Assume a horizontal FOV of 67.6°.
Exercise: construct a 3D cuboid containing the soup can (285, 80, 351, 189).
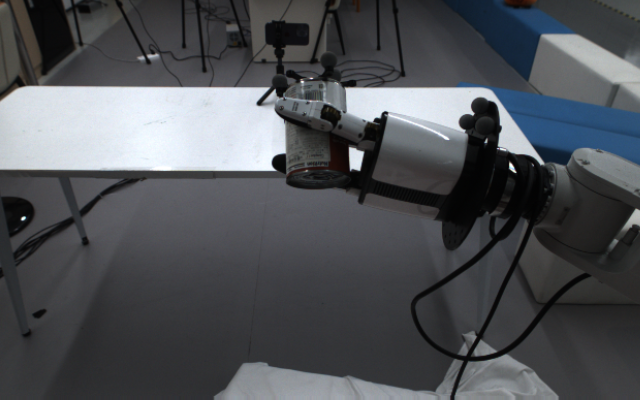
[{"bbox_3d":[-0.003,-0.070,0.512,0.067,0.067,0.101,-1,76,-4],"label":"soup can"}]
